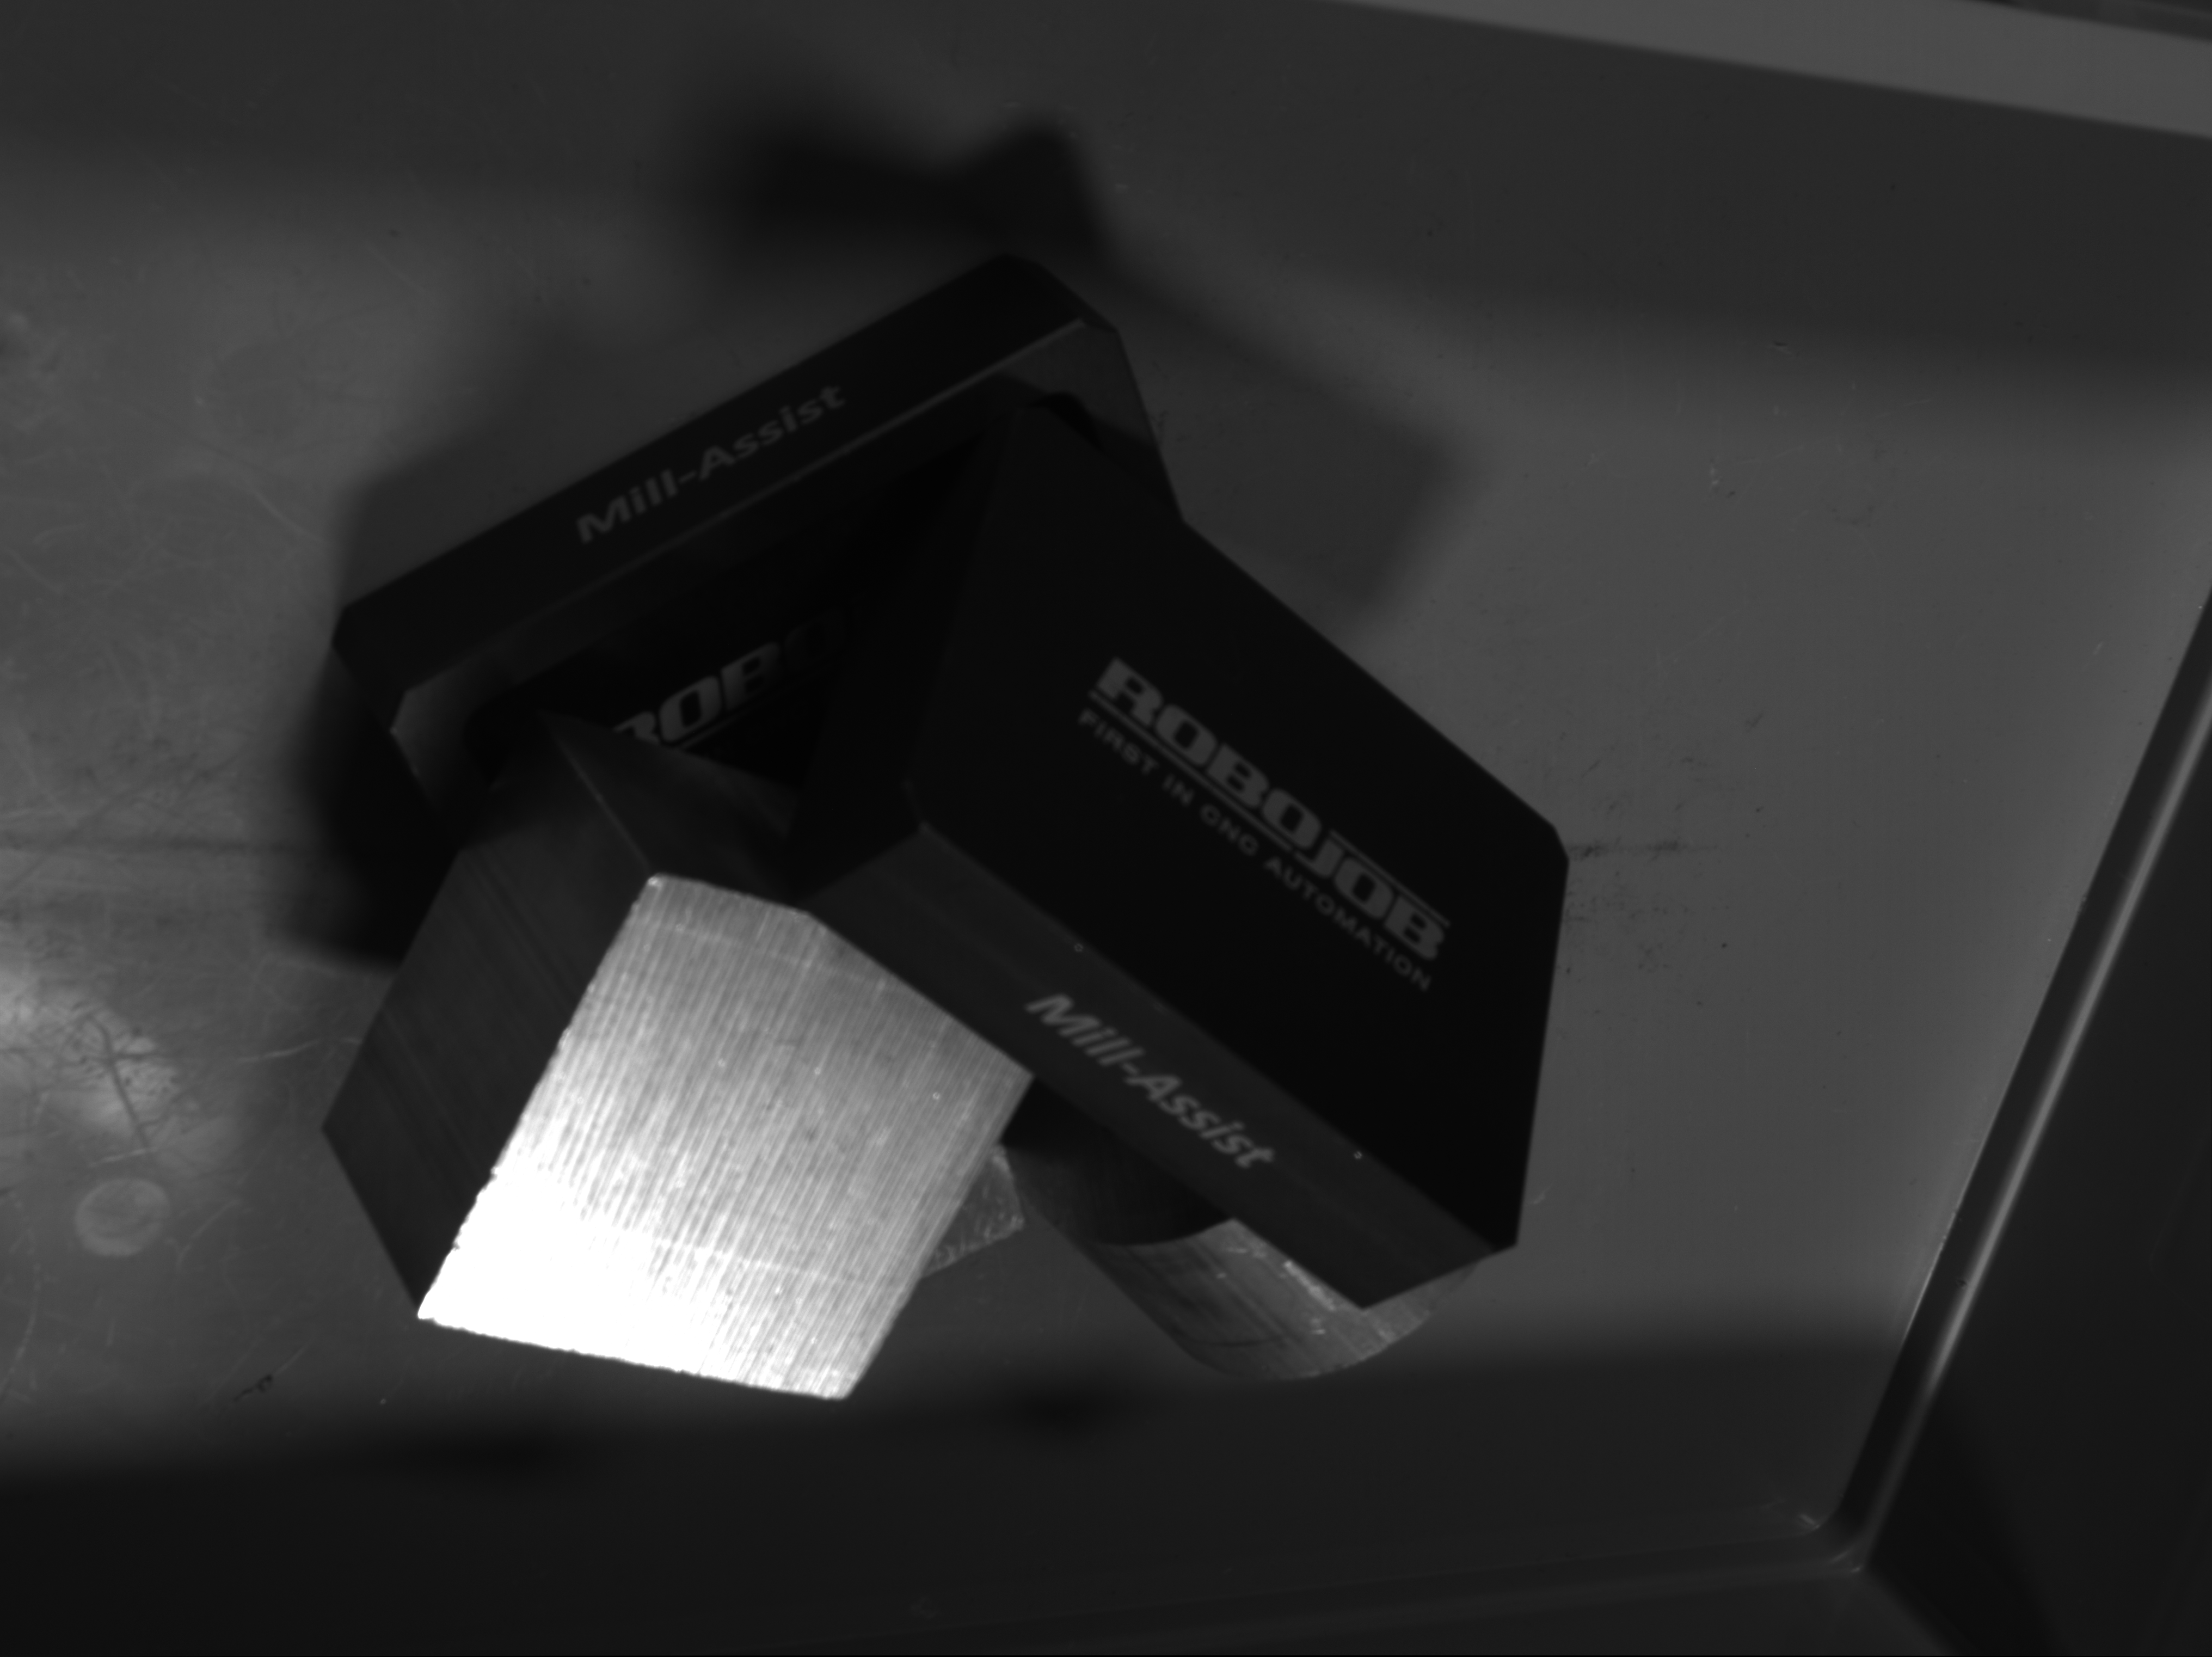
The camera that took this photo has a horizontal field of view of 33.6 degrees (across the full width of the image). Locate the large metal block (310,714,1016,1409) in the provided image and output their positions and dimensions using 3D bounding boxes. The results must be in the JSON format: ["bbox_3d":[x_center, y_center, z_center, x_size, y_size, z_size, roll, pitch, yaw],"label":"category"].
[{"bbox_3d":[-0.066,0.038,0.576,0.080,0.050,0.080,18,108,-37],"label":"large metal block"}]

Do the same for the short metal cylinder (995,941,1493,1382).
[{"bbox_3d":[0.027,0.053,0.662,0.080,0.080,0.050,-43,130,0],"label":"short metal cylinder"}]

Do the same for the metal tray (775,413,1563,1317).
[{"bbox_3d":[0.015,0.007,0.581,0.130,0.090,0.030,38,135,-26],"label":"metal tray"}]

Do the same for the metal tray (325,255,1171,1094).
[{"bbox_3d":[-0.050,-0.024,0.601,0.130,0.030,0.090,-30,129,-11],"label":"metal tray"}]

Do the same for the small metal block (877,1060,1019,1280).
[{"bbox_3d":[-0.048,0.058,0.657,0.050,0.025,0.050,-26,128,-14],"label":"small metal block"}]
